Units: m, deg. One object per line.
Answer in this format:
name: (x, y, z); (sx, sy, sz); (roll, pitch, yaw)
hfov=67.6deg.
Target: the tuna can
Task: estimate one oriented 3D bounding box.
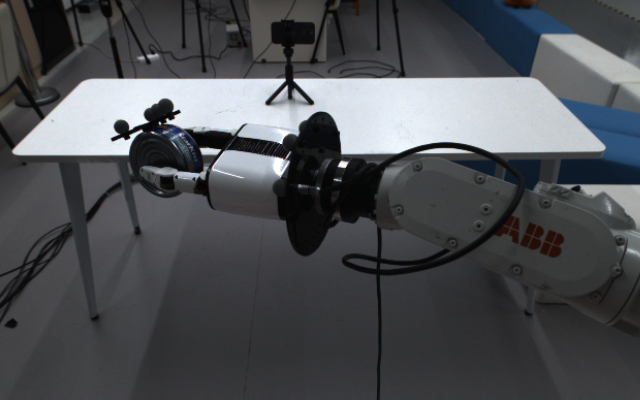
tuna can: (-0.183, -0.041, 0.586); (0.085, 0.085, 0.034); (14, 30, 17)
